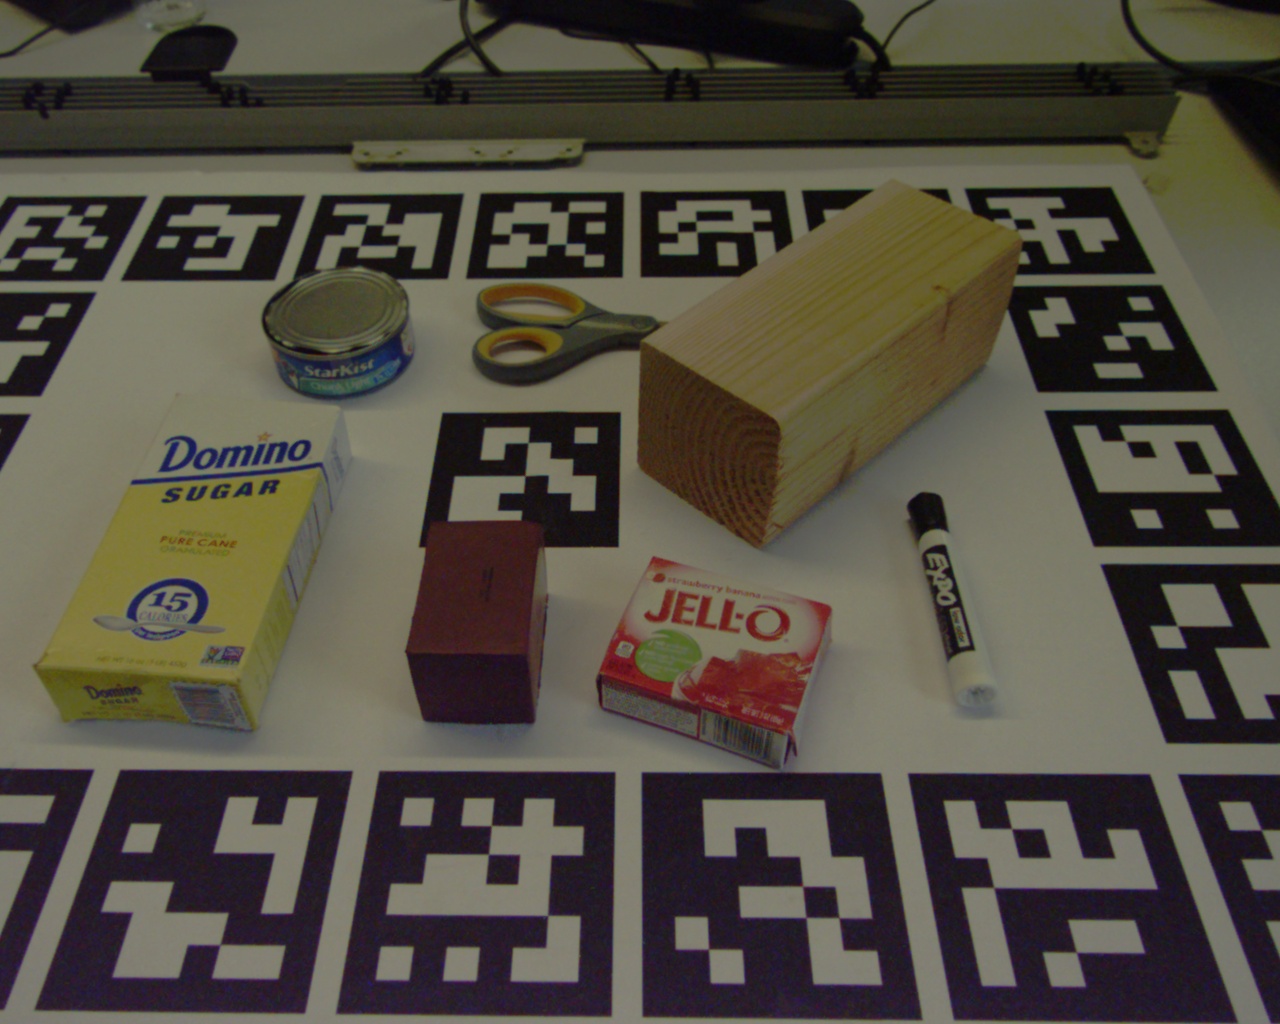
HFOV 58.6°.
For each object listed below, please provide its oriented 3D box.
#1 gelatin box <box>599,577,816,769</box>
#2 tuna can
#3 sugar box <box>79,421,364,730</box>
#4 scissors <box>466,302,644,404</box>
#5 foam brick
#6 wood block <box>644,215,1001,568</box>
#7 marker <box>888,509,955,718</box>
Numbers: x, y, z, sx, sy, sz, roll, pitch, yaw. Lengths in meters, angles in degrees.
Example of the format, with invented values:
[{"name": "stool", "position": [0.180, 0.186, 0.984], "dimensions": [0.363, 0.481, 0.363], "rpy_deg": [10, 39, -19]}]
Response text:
[{"name": "gelatin box", "position": [0.034, 0.076, 0.557], "dimensions": [0.090, 0.030, 0.073], "rpy_deg": [14, 51, 14]}, {"name": "tuna can", "position": [-0.186, -0.099, 0.712], "dimensions": [0.086, 0.033, 0.086], "rpy_deg": [-1, 49, 1]}, {"name": "sugar box", "position": [-0.211, 0.028, 0.600], "dimensions": [0.093, 0.045, 0.177], "rpy_deg": [3, 49, 3]}, {"name": "scissors", "position": [-0.012, -0.099, 0.722], "dimensions": [0.203, 0.016, 0.088], "rpy_deg": [4, 49, 8]}, {"name": "foam brick", "position": [-0.070, 0.060, 0.555], "dimensions": [0.053, 0.051, 0.078], "rpy_deg": [1, 50, 2]}, {"name": "wood block", "position": [0.105, -0.074, 0.651], "dimensions": [0.091, 0.090, 0.205], "rpy_deg": [35, 58, 29]}, {"name": "marker", "position": [0.143, 0.047, 0.583], "dimensions": [0.019, 0.019, 0.121], "rpy_deg": [0, 51, 2]}]
